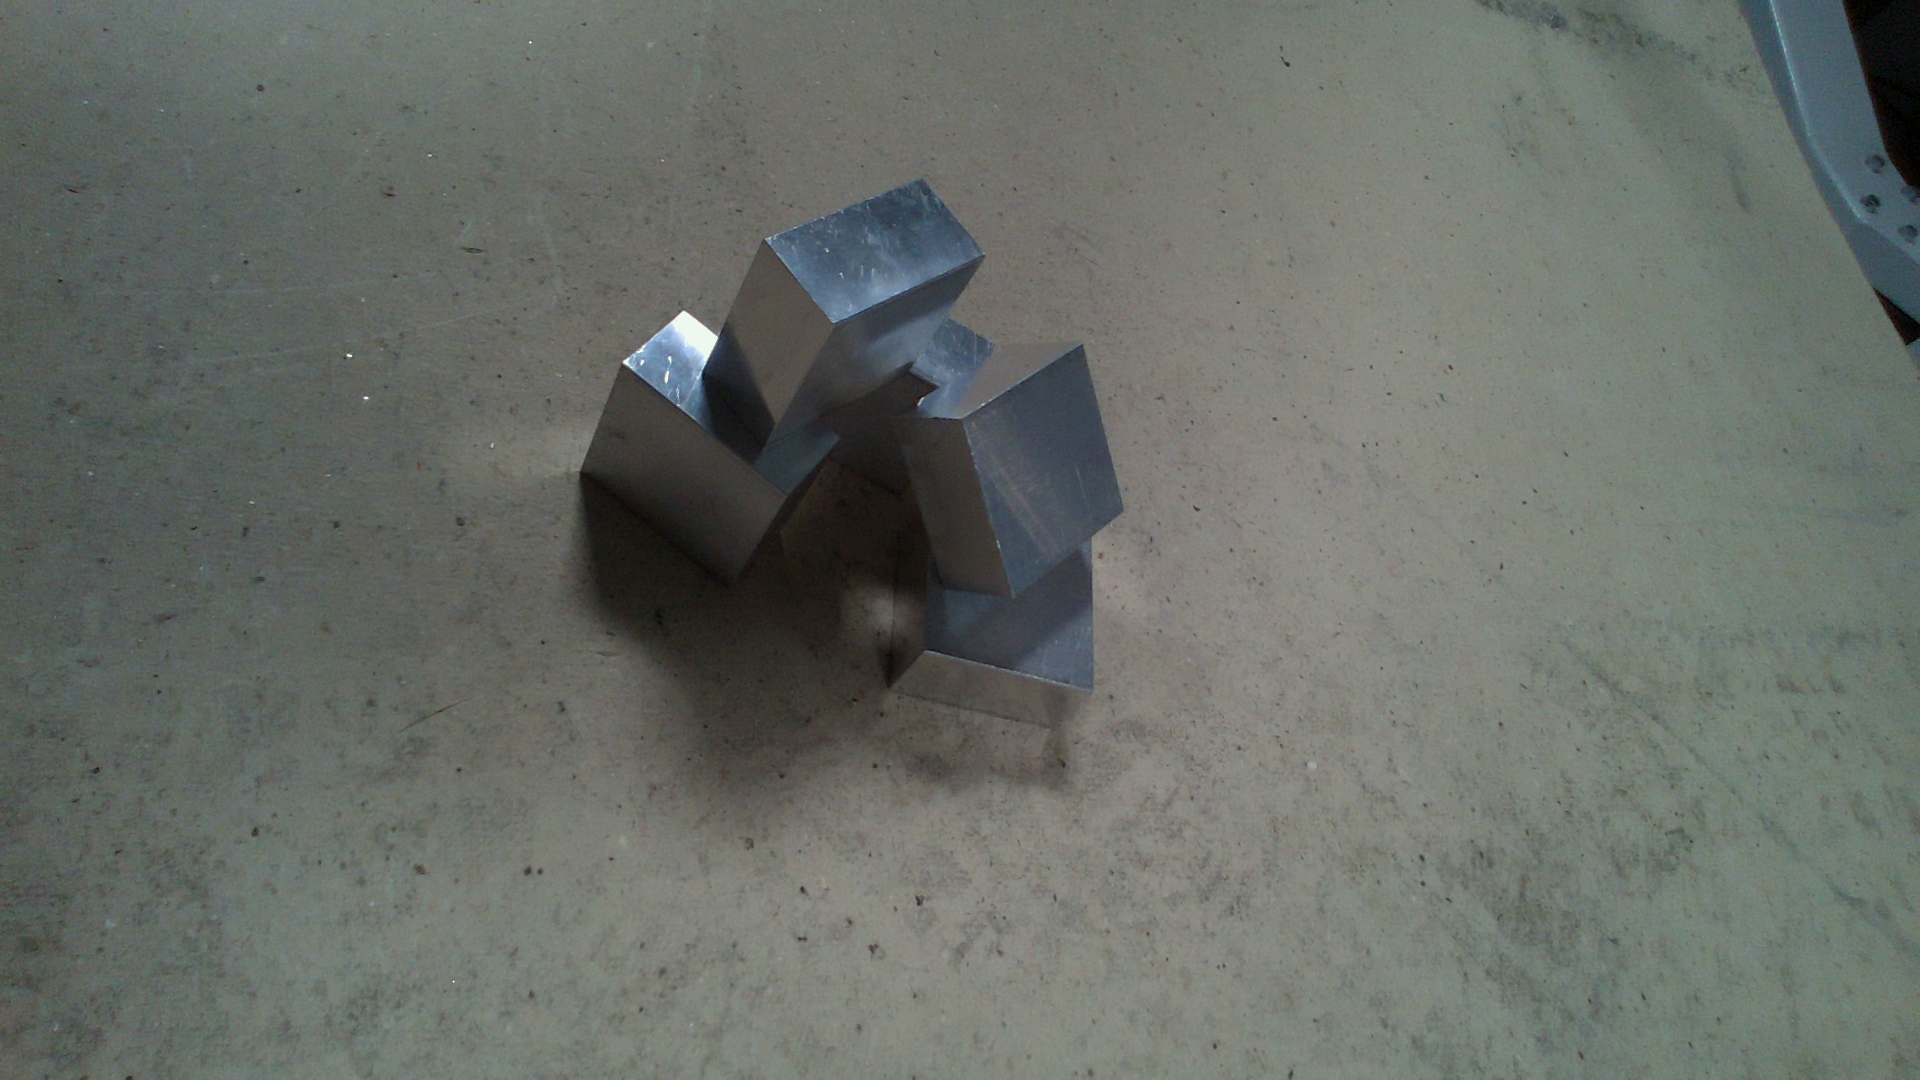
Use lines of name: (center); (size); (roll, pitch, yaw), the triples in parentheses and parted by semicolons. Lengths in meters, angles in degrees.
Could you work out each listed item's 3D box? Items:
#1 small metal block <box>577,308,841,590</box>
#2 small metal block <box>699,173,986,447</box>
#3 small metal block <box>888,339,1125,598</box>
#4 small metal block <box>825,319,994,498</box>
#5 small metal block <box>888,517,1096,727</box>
small metal block: (-0.065, -0.022, 0.353); (0.050, 0.050, 0.025); (39, 51, -2)
small metal block: (-0.029, -0.054, 0.328); (0.050, 0.050, 0.025); (-33, 80, -38)
small metal block: (0.014, -0.020, 0.361); (0.050, 0.025, 0.050); (-36, 119, -38)
small metal block: (-0.026, -0.045, 0.388); (0.050, 0.050, 0.025); (28, 52, -10)
small metal block: (0.009, 0.020, 0.383); (0.050, 0.025, 0.050); (15, 55, -20)
